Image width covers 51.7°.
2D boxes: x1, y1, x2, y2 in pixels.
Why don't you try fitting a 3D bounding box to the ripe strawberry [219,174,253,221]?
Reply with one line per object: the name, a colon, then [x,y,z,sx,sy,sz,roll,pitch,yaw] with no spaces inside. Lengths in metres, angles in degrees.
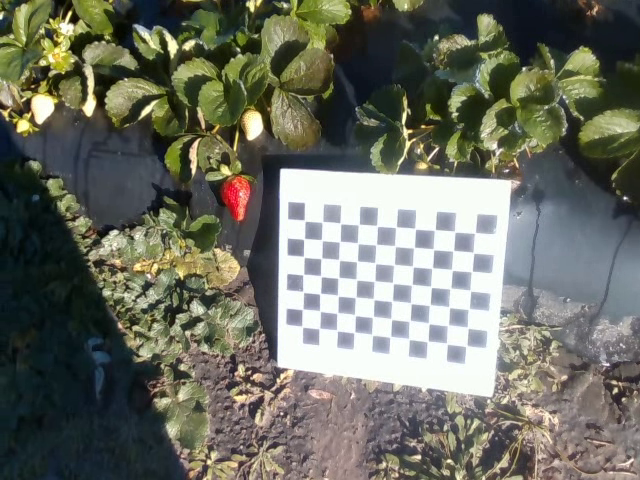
ripe strawberry: [-0.110,-0.053,0.857,0.048,0.069,0.040,-14,-1,18]
